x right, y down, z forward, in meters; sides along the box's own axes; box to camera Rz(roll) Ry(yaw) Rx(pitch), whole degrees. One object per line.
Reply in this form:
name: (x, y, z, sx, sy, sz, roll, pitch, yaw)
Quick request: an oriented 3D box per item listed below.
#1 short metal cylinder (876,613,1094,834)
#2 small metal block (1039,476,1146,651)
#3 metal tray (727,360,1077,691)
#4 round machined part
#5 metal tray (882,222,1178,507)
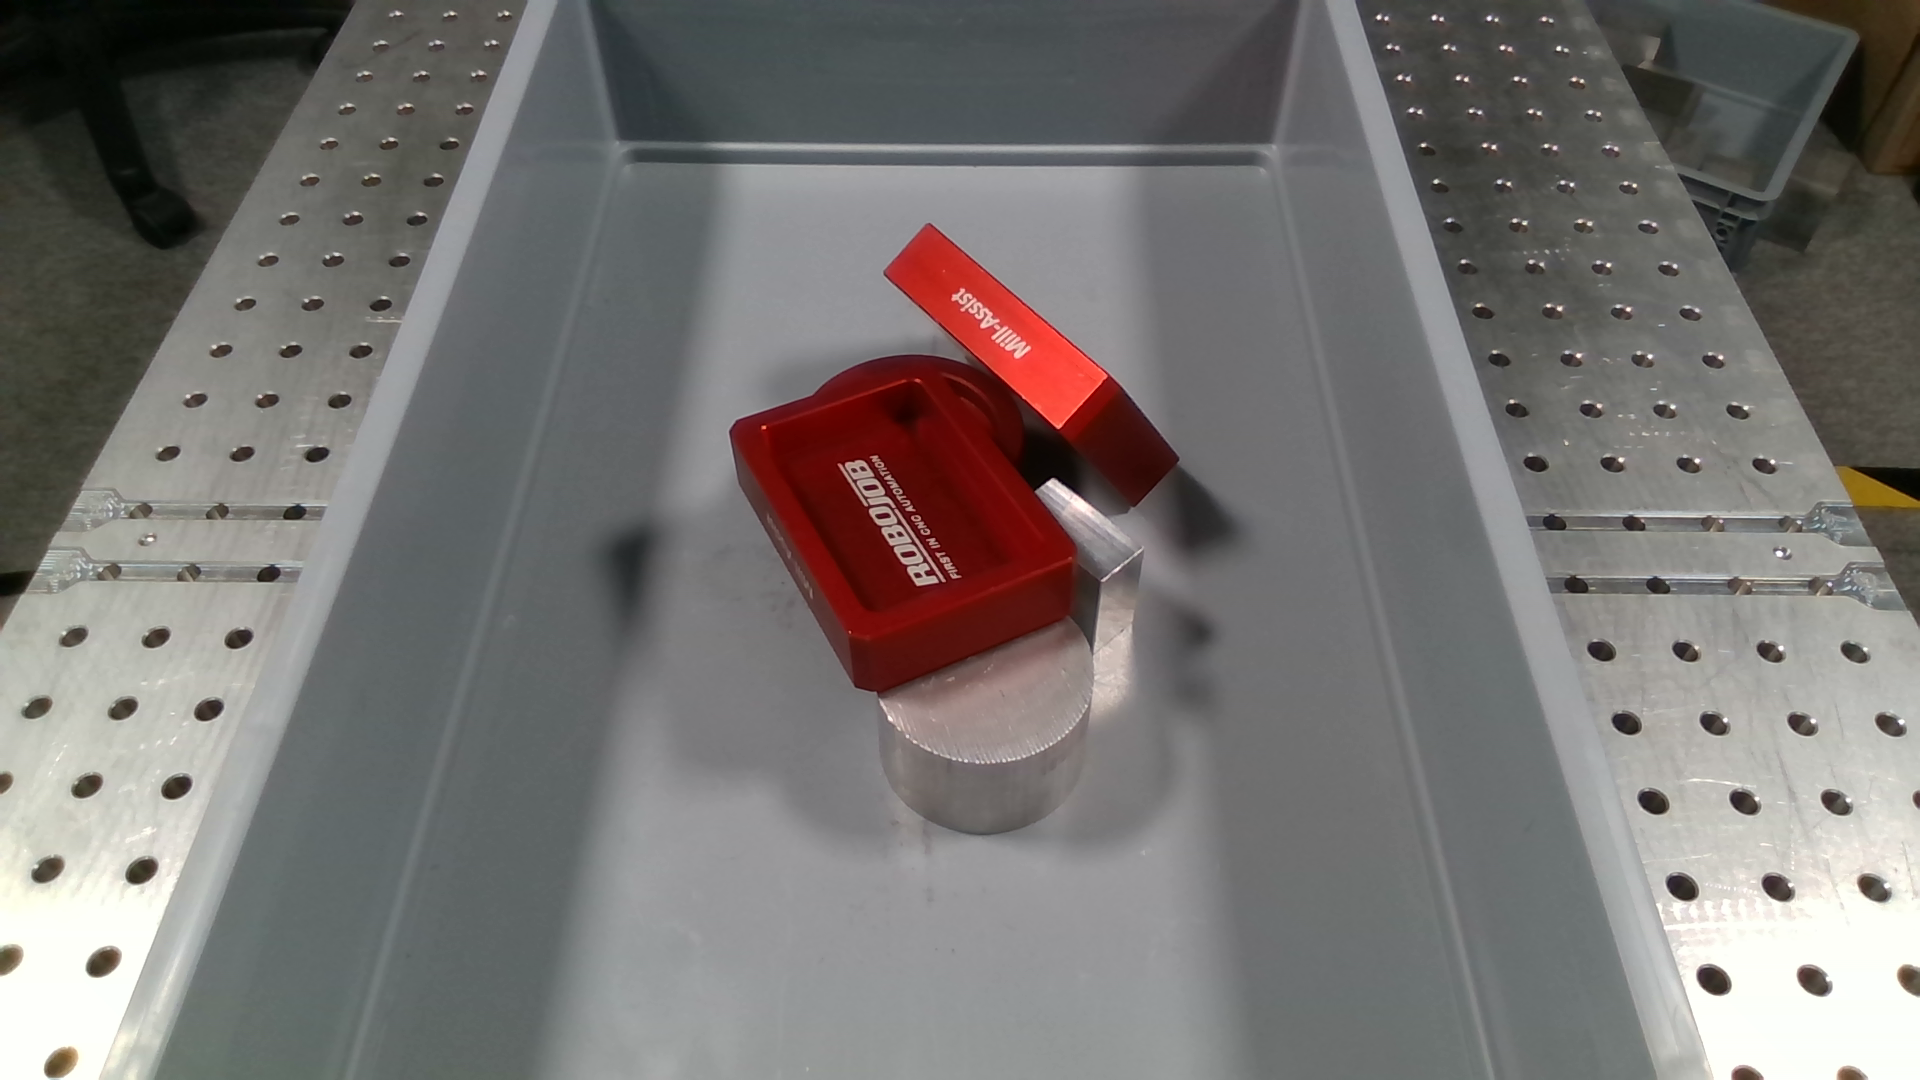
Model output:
short metal cylinder: (0.008, 0.062, 0.517, 0.080, 0.050, 0.080, 0, 50, 0)
small metal block: (0.046, 0.011, 0.559, 0.025, 0.050, 0.050, -36, 60, -26)
metal tray: (-0.025, -0.011, 0.529, 0.090, 0.030, 0.130, -21, 49, -17)
round machined part: (-0.022, -0.033, 0.603, 0.098, 0.042, 0.098, 0, 50, 0)
metal tray: (0.031, -0.077, 0.605, 0.030, 0.090, 0.130, -47, 59, 4)
